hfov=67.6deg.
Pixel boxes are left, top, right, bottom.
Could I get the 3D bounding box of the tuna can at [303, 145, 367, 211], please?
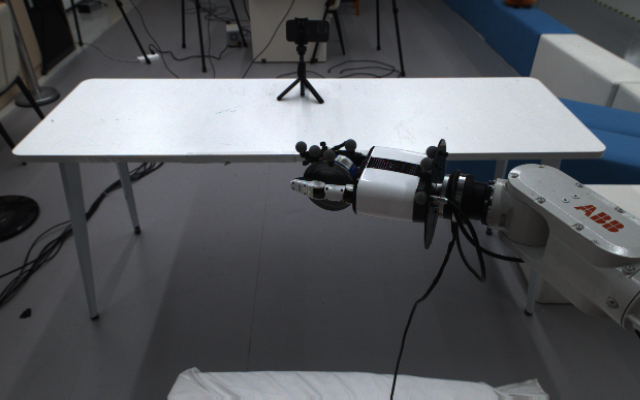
[{"bbox_3d":[0.020,-0.028,0.738,0.085,0.085,0.034,14,34,17],"label":"tuna can"}]
